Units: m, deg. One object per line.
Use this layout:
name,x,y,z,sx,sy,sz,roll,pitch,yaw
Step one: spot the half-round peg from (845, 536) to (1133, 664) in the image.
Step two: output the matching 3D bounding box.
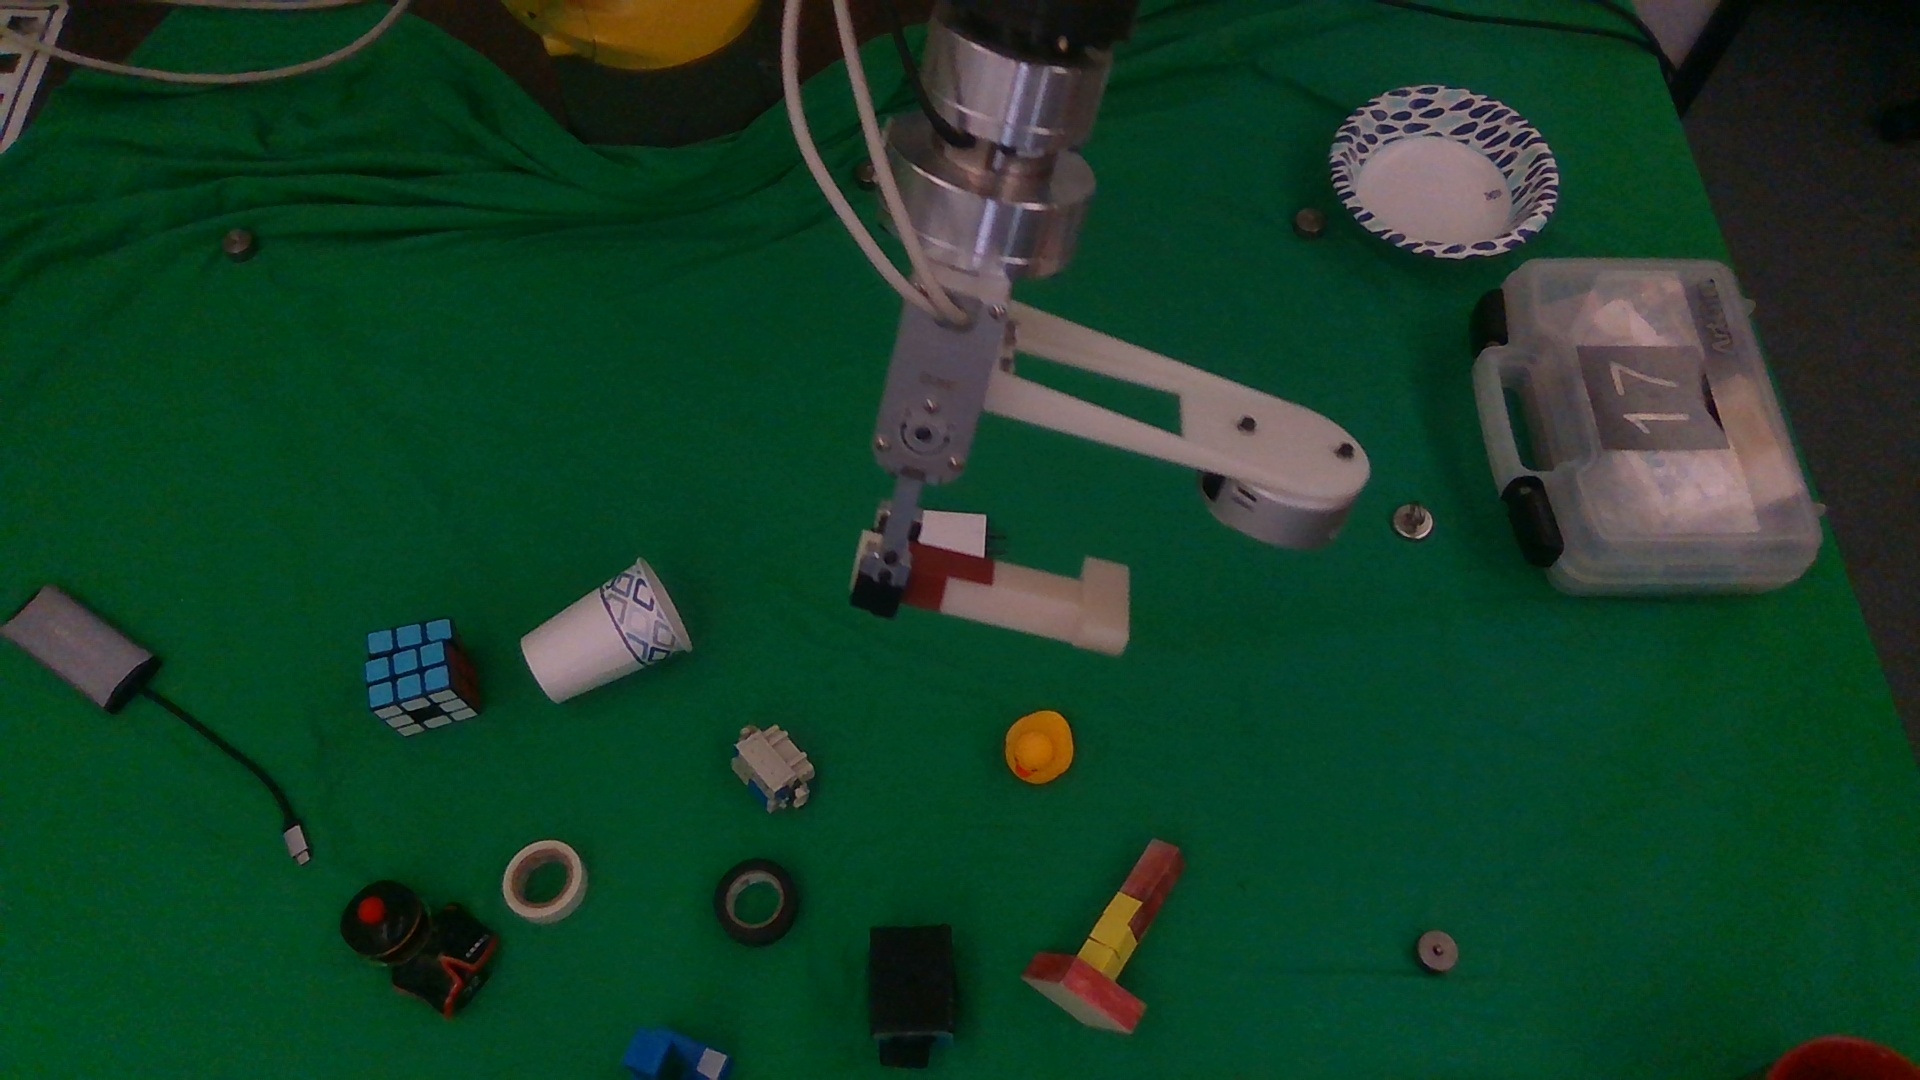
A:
half-round peg,0.012,0.023,0.588,0.122,0.031,0.054,13,36,-2

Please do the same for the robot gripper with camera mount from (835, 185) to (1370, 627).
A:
robot gripper with camera mount,0.055,-0.022,0.557,0.193,0.159,0.119,15,36,-6
